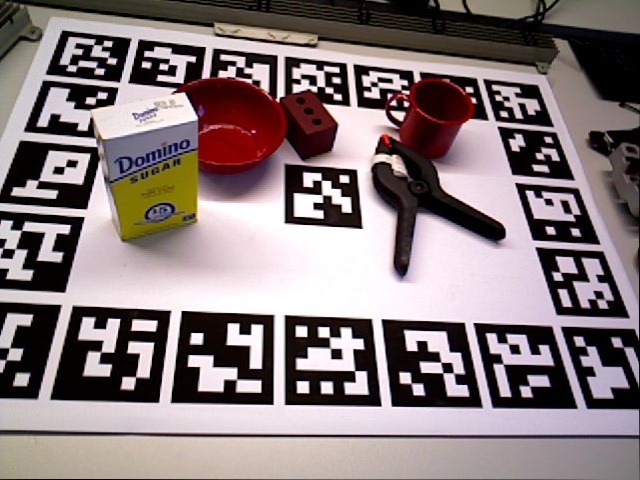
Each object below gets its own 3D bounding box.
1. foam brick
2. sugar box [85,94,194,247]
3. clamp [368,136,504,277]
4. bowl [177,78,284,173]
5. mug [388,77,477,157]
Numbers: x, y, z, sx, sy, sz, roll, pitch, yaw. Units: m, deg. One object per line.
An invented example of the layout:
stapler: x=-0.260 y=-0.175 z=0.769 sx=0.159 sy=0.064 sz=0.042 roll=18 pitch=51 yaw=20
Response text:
foam brick: x=-0.018 y=-0.153 z=0.742 sx=0.052 sy=0.052 sz=0.078 roll=-22 pitch=66 yaw=-23
sugar box: x=-0.183 y=-0.067 z=0.572 sx=0.091 sy=0.180 sz=0.045 roll=-19 pitch=65 yaw=-24
clamp: x=0.122 y=-0.062 z=0.707 sx=0.163 sy=0.037 sz=0.201 roll=-19 pitch=65 yaw=-19
bowl: x=-0.129 y=-0.141 z=0.703 sx=0.160 sy=0.056 sz=0.159 roll=5 pitch=57 yaw=-9
mug: x=0.150 y=-0.177 z=0.763 sx=0.117 sy=0.083 sz=0.091 roll=26 pitch=56 yaw=2
